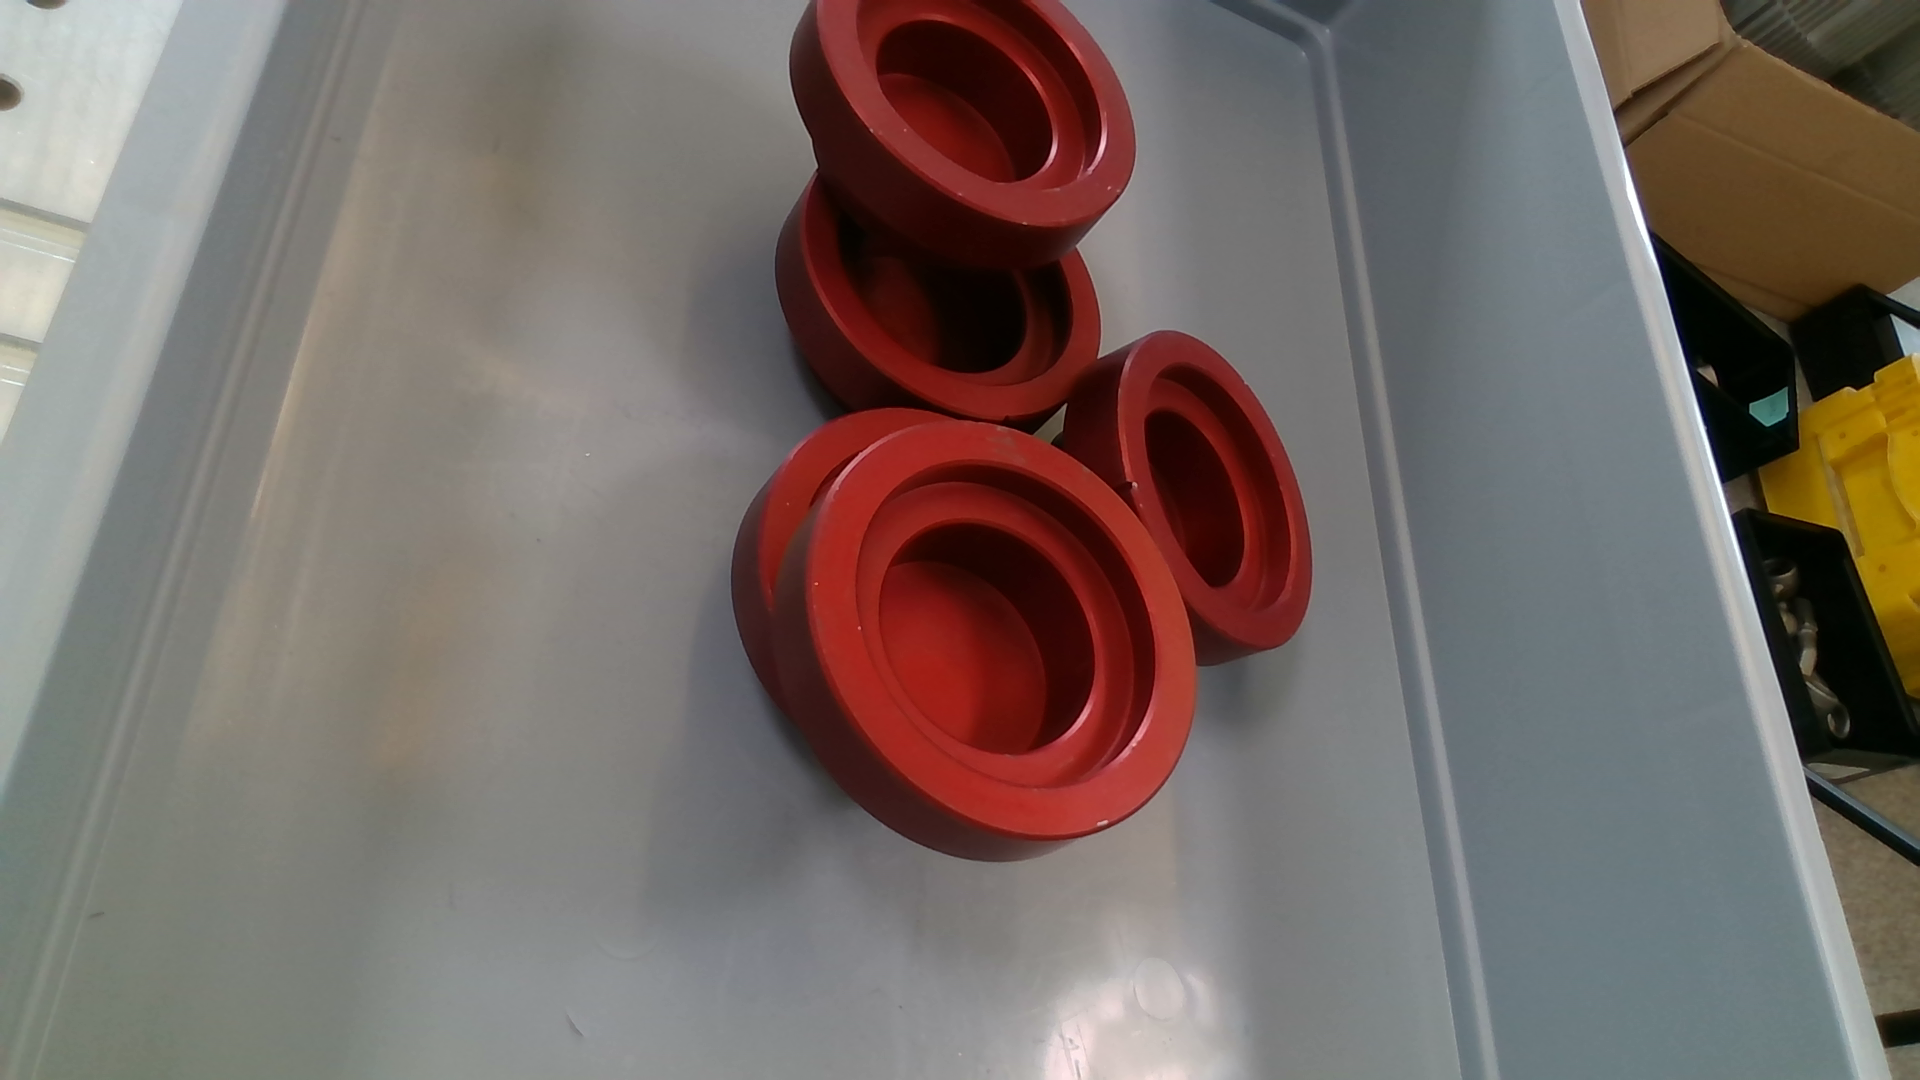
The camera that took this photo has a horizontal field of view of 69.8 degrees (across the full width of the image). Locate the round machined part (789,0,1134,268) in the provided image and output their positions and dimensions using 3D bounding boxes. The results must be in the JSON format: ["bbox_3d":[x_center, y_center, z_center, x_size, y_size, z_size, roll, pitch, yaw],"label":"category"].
[{"bbox_3d":[-0.003,-0.118,0.388,0.098,0.042,0.098,14,59,-25],"label":"round machined part"}]

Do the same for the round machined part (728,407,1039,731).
[{"bbox_3d":[-0.015,0.018,0.363,0.098,0.042,0.098,14,59,-25],"label":"round machined part"}]

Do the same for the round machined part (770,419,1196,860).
[{"bbox_3d":[0.002,0.025,0.315,0.098,0.042,0.098,14,59,-25],"label":"round machined part"}]

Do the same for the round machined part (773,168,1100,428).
[{"bbox_3d":[-0.010,-0.069,0.412,0.098,0.042,0.098,14,59,-25],"label":"round machined part"}]

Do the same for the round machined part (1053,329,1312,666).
[{"bbox_3d":[0.061,-0.010,0.411,0.098,0.042,0.098,25,54,-40],"label":"round machined part"}]
